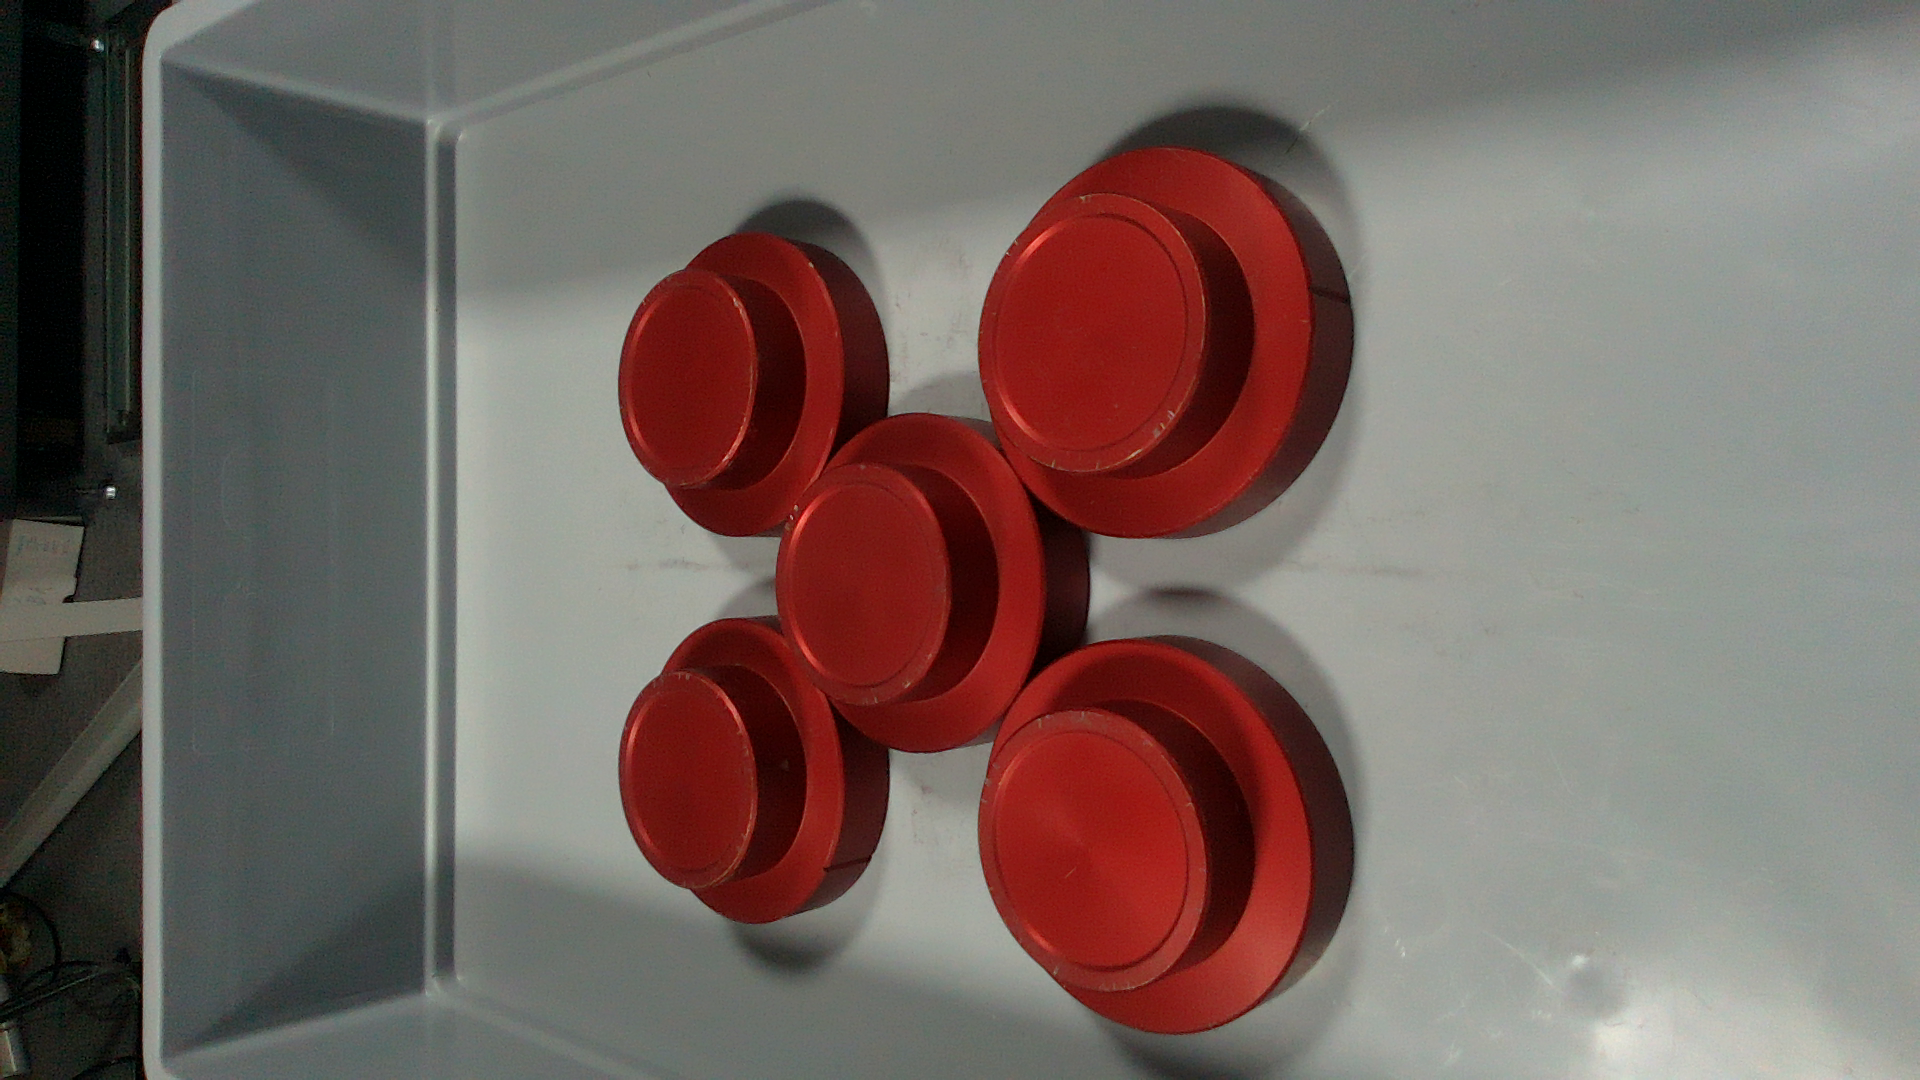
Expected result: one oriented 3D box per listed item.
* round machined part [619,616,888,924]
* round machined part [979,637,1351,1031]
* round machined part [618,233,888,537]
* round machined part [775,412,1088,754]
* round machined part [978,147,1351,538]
[{"bbox_3d":[-0.073,0.074,0.444,0.098,0.042,0.098,0,90,40],"label":"round machined part"},{"bbox_3d":[0.044,0.074,0.346,0.098,0.042,0.098,0,90,40],"label":"round machined part"},{"bbox_3d":[-0.073,-0.050,0.444,0.098,0.042,0.098,0,90,40],"label":"round machined part"},{"bbox_3d":[-0.015,0.012,0.394,0.098,0.042,0.098,0,90,40],"label":"round machined part"},{"bbox_3d":[0.043,-0.049,0.346,0.098,0.042,0.098,0,90,40],"label":"round machined part"}]
